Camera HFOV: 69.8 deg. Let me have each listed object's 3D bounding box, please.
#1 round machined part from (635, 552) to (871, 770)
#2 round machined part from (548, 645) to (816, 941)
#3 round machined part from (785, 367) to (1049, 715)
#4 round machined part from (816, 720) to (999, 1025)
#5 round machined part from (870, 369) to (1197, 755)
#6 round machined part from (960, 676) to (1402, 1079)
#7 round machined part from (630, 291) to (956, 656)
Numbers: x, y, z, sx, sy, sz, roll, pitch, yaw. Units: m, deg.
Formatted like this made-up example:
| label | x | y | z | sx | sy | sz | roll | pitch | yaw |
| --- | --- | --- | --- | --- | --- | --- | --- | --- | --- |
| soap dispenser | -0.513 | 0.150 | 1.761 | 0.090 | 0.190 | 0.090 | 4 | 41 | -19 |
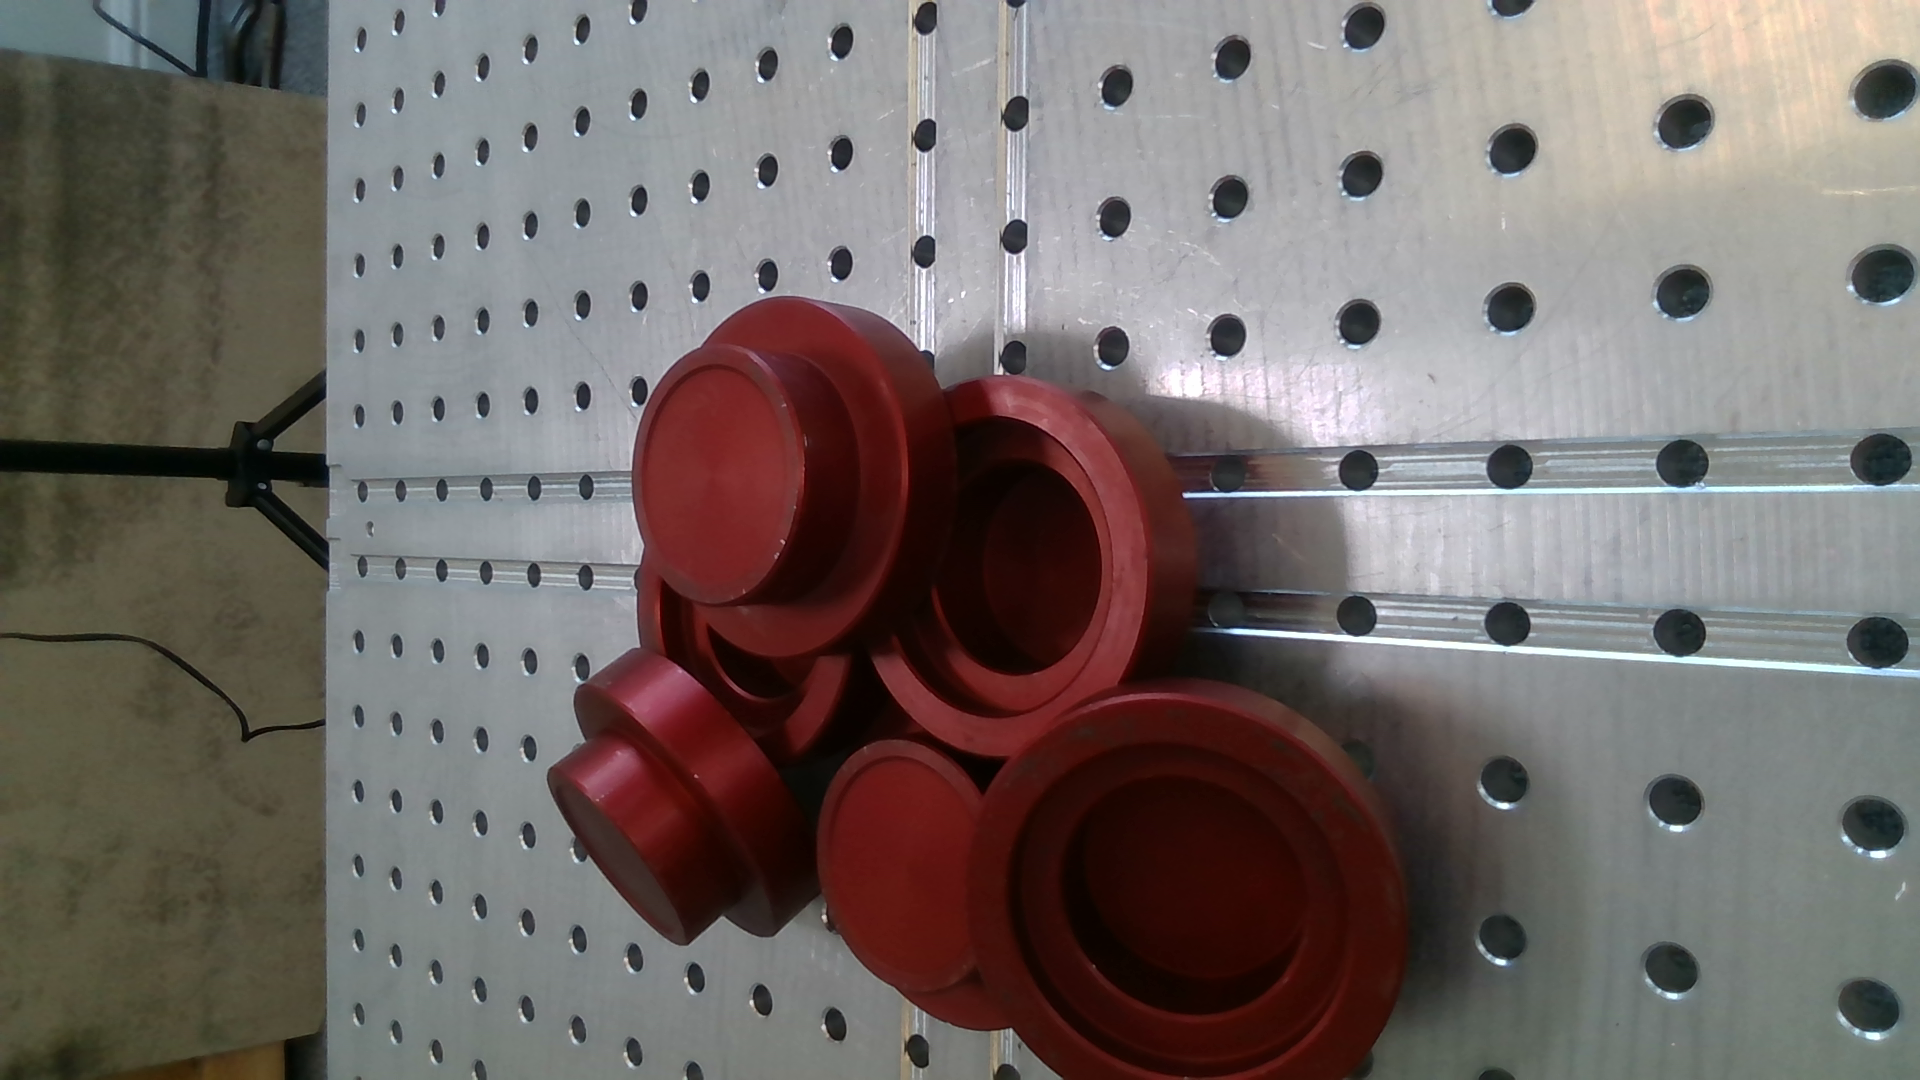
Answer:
| label | x | y | z | sx | sy | sz | roll | pitch | yaw |
| --- | --- | --- | --- | --- | --- | --- | --- | --- | --- |
| round machined part | -0.054 | 0.020 | 0.428 | 0.098 | 0.042 | 0.098 | 0 | 91 | 40 |
| round machined part | -0.090 | 0.084 | 0.427 | 0.098 | 0.042 | 0.098 | 35 | 147 | 28 |
| round machined part | -0.014 | -0.001 | 0.393 | 0.098 | 0.042 | 0.098 | 0 | 91 | 40 |
| round machined part | -0.002 | 0.086 | 0.385 | 0.098 | 0.042 | 0.098 | 0 | 91 | 40 |
| round machined part | 0.020 | 0.006 | 0.365 | 0.098 | 0.042 | 0.098 | 0 | 91 | 40 |
| round machined part | 0.053 | 0.079 | 0.324 | 0.098 | 0.042 | 0.098 | 2 | 97 | 19 |
| round machined part | -0.051 | -0.018 | 0.370 | 0.098 | 0.042 | 0.098 | 0 | 91 | 40 |
